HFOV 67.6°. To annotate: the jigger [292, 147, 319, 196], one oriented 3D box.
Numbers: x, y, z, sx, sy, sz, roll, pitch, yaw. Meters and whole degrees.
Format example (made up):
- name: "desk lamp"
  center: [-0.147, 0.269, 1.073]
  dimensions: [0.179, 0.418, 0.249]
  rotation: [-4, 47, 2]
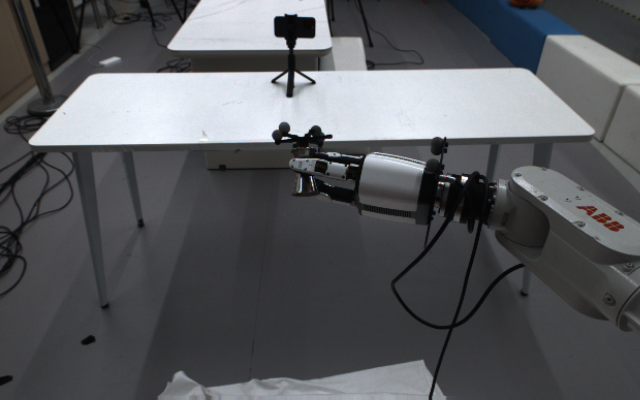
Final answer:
- name: "jigger"
  center: [-0.023, -0.042, 0.722]
  dimensions: [0.043, 0.071, 0.043]
  rotation: [-2, -7, 0]
